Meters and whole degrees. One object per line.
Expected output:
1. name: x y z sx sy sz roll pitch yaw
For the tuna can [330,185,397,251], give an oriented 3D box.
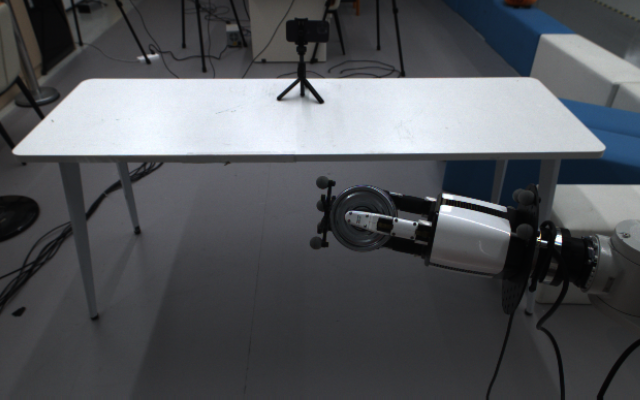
1. tuna can: 0.059 0.026 0.618 0.085 0.085 0.034 10 2 11
